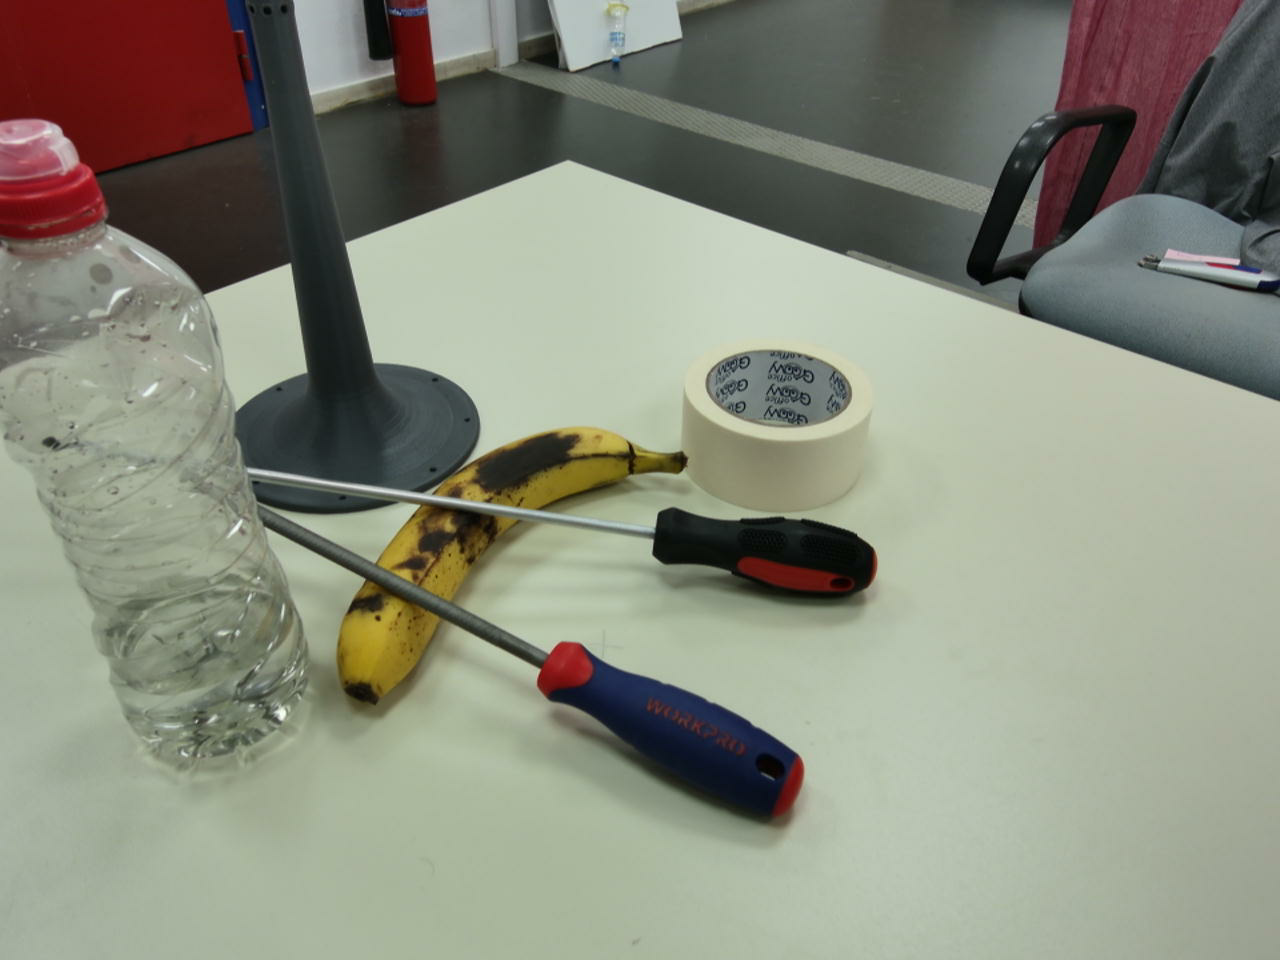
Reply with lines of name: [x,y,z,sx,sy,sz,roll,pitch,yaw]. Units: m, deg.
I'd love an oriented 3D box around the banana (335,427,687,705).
banana: [-0.074,0.024,0.497,0.084,0.037,0.222,28,44,30]
